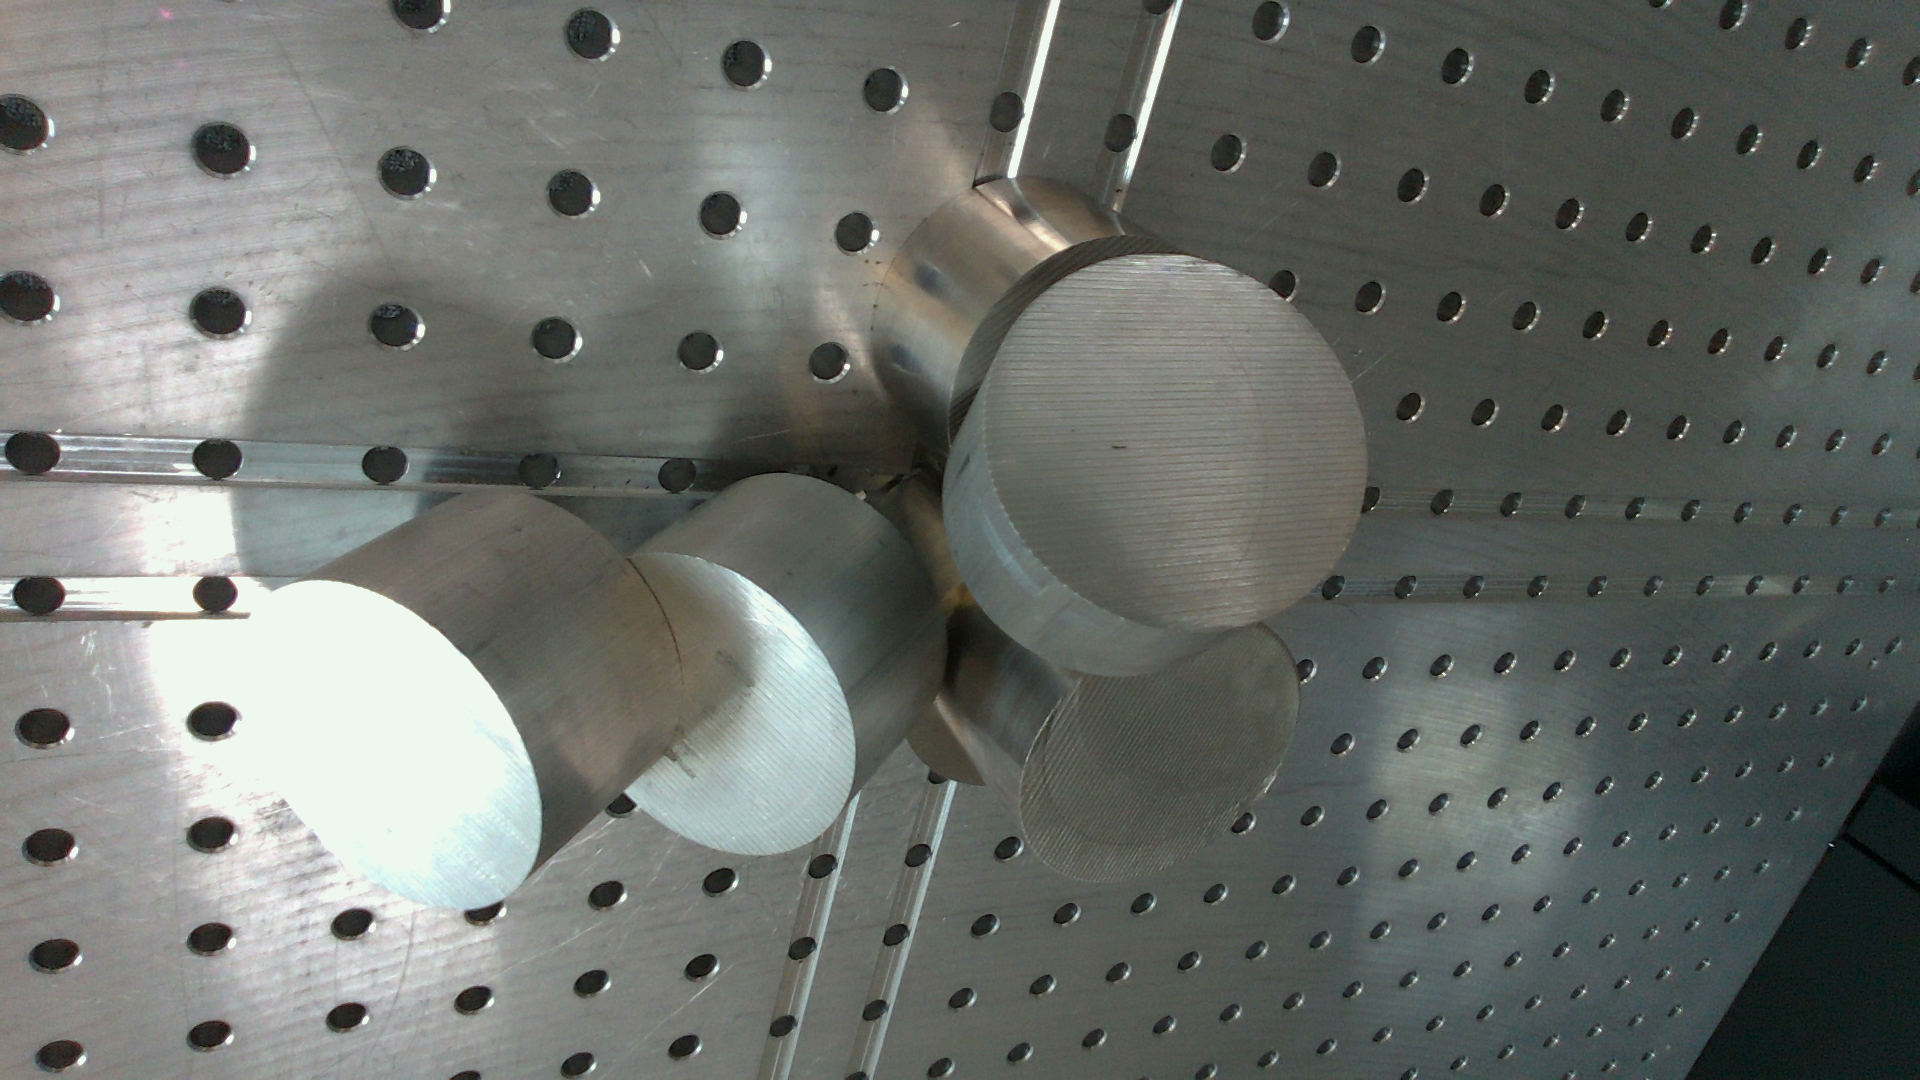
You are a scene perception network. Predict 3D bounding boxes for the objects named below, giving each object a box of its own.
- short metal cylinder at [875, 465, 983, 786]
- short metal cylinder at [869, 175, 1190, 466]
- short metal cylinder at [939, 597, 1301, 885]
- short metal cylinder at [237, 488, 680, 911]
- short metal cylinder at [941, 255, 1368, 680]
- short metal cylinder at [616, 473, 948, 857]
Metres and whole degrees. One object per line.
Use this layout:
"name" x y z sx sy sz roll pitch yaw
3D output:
"short metal cylinder" 0.009 0.023 0.394 0.080 0.050 0.080 -14 124 -21
"short metal cylinder" 0.023 -0.049 0.358 0.080 0.050 0.080 -14 124 -21
"short metal cylinder" 0.040 0.042 0.357 0.080 0.050 0.080 -14 124 -21
"short metal cylinder" -0.111 0.035 0.310 0.050 0.080 0.080 -46 148 -56
"short metal cylinder" 0.039 -0.013 0.297 0.080 0.080 0.050 -22 170 -15
"short metal cylinder" -0.050 0.030 0.339 0.050 0.080 0.080 -45 148 -56
